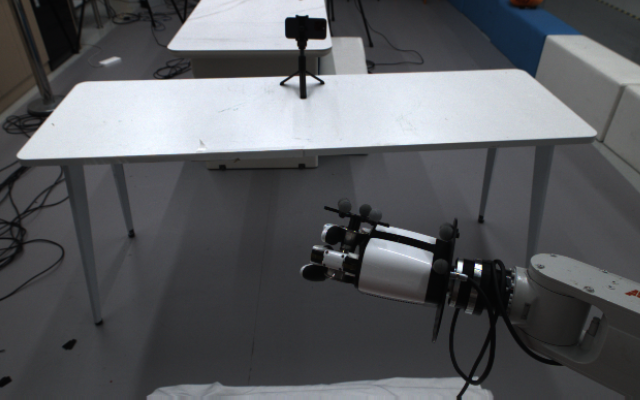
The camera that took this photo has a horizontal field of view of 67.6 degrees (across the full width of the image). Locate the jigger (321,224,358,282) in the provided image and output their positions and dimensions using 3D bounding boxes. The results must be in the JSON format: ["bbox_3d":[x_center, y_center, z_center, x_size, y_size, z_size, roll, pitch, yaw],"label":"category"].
[{"bbox_3d":[0.036,0.071,0.640,0.043,0.071,0.043,17,2,-1],"label":"jigger"}]
